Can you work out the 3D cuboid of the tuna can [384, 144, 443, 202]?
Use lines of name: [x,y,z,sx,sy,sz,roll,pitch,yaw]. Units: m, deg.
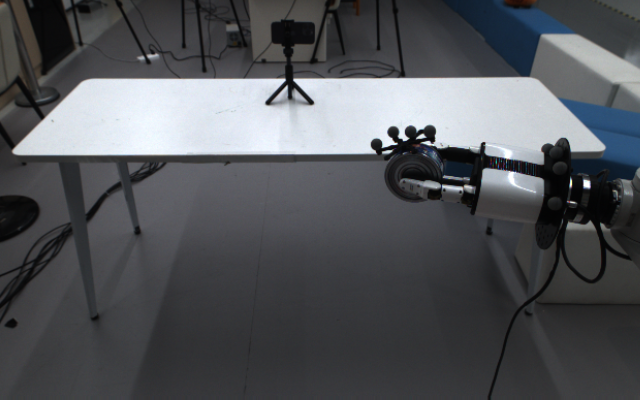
tuna can: [0.141,-0.043,0.717,0.085,0.085,0.034,11,34,13]
